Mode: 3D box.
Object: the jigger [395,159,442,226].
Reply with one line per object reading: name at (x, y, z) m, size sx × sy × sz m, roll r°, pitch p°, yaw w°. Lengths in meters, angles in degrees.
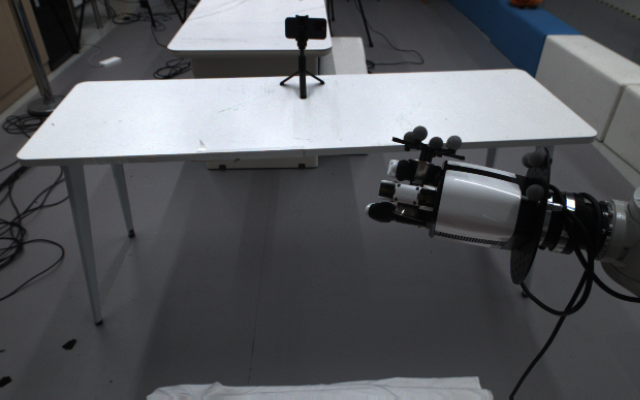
jigger at (0.117, -0.012, 0.582) m, size 0.043 × 0.071 × 0.043 m, roll 17°, pitch 2°, yaw -1°
